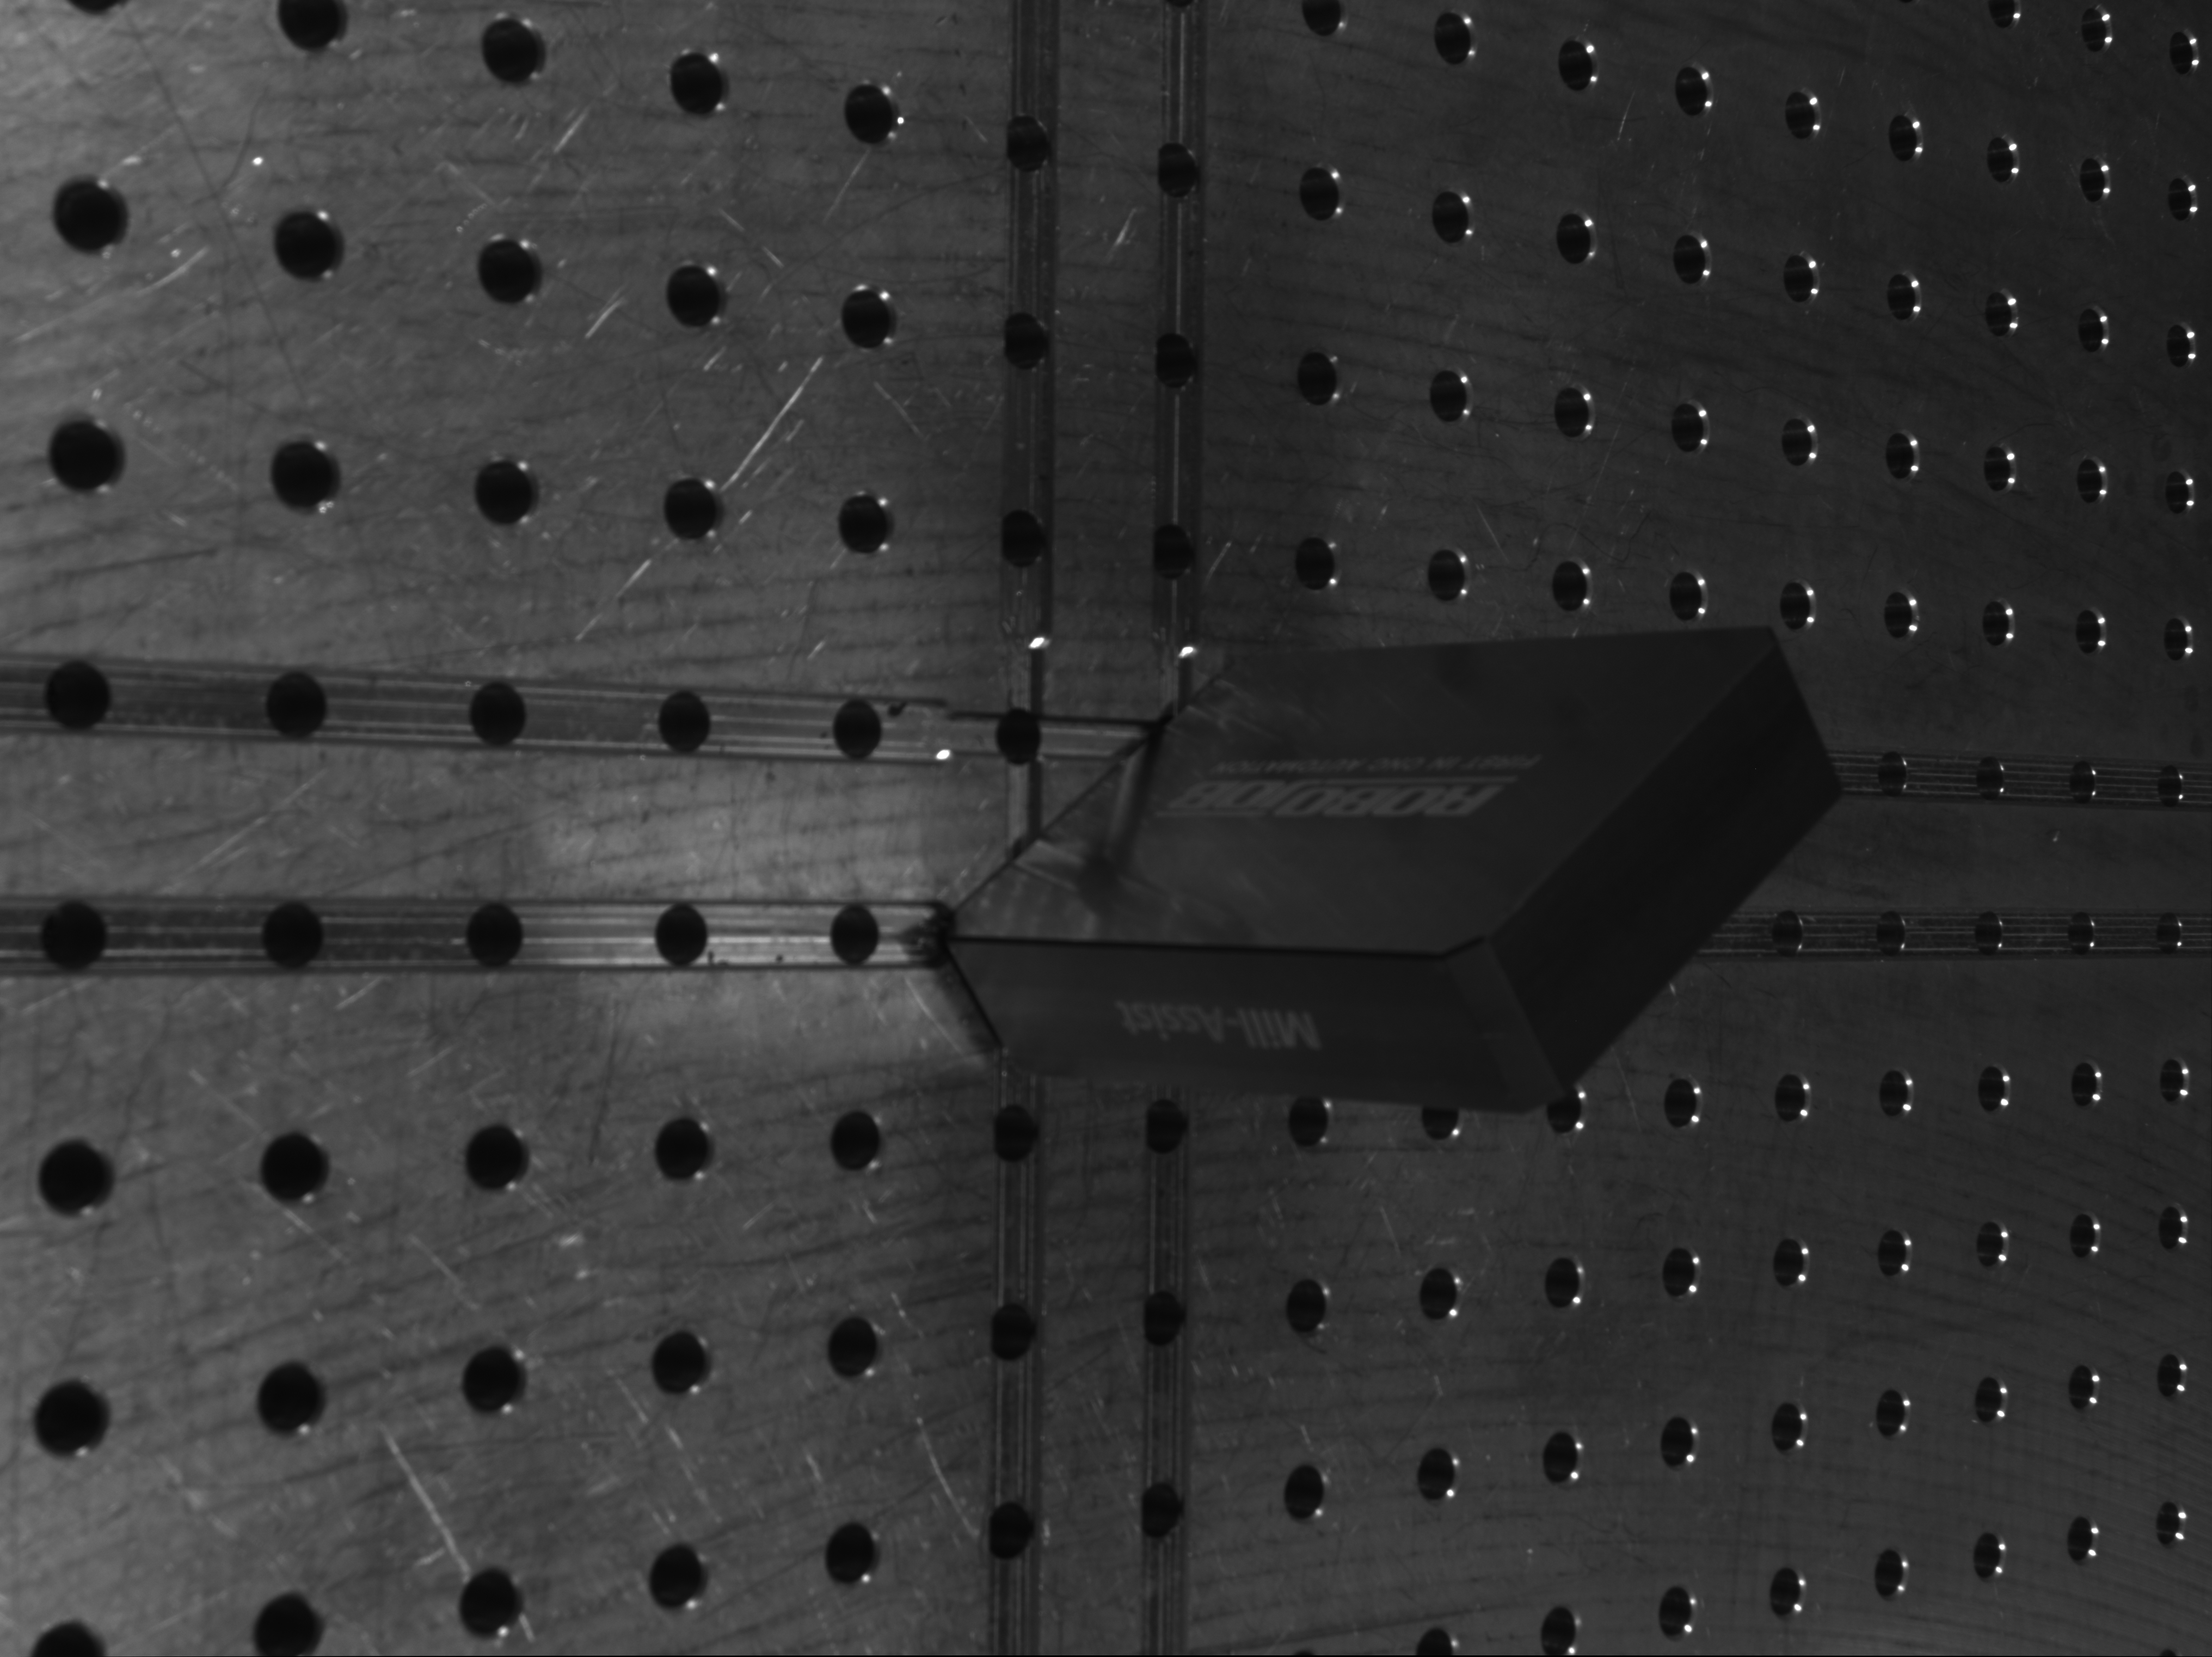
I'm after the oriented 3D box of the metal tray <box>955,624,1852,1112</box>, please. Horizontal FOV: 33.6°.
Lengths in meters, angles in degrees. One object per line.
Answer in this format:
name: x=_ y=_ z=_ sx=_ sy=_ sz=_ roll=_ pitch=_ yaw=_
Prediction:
metal tray: x=0.047 y=0.005 z=0.611 sx=0.090 sy=0.130 sz=0.030 roll=-42 pitch=115 yaw=-32
